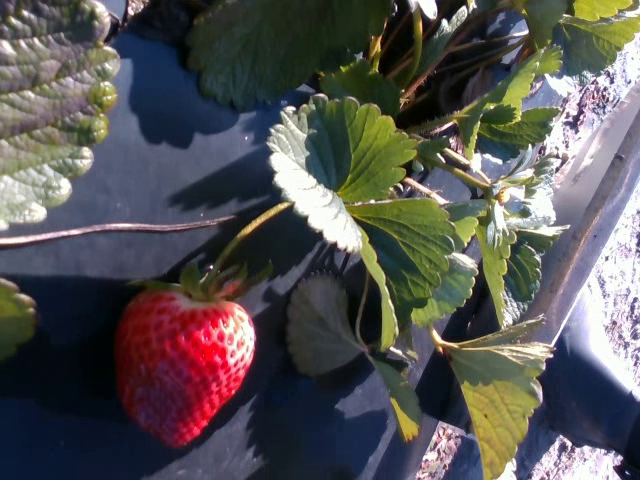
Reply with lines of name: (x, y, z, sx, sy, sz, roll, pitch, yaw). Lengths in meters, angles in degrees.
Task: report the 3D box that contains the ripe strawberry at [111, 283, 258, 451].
ripe strawberry: (-0.040, 0.034, 0.176, 0.044, 0.056, 0.042, 10, -7, 5)
